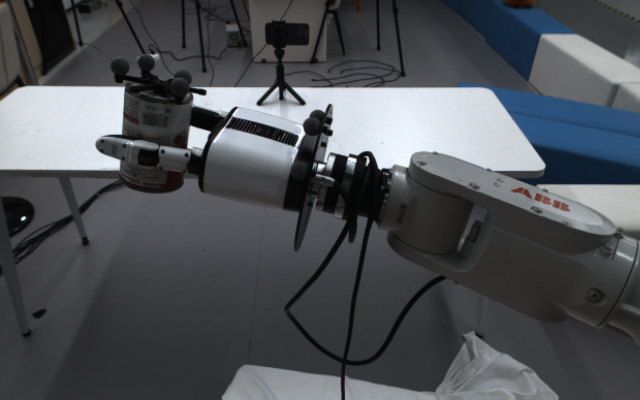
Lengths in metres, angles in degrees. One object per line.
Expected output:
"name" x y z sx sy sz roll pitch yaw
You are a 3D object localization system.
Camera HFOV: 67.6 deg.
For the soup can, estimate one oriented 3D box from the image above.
"soup can" -0.172 -0.066 0.510 0.067 0.101 0.067 12 25 -6
